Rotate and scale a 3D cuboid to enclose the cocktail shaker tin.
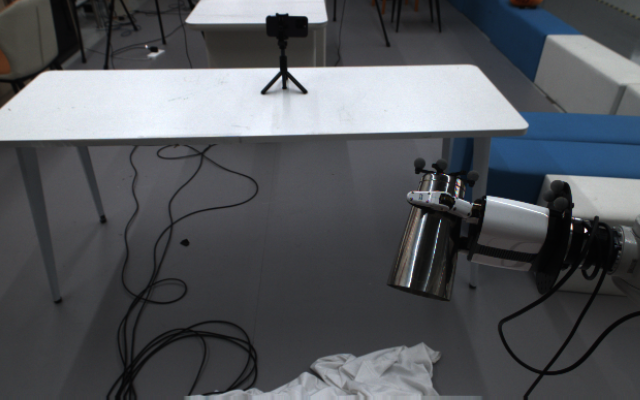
[{"bbox_3d":[0.164,0.048,0.703,0.093,0.093,0.170,13,78,15],"label":"cocktail shaker tin"}]
